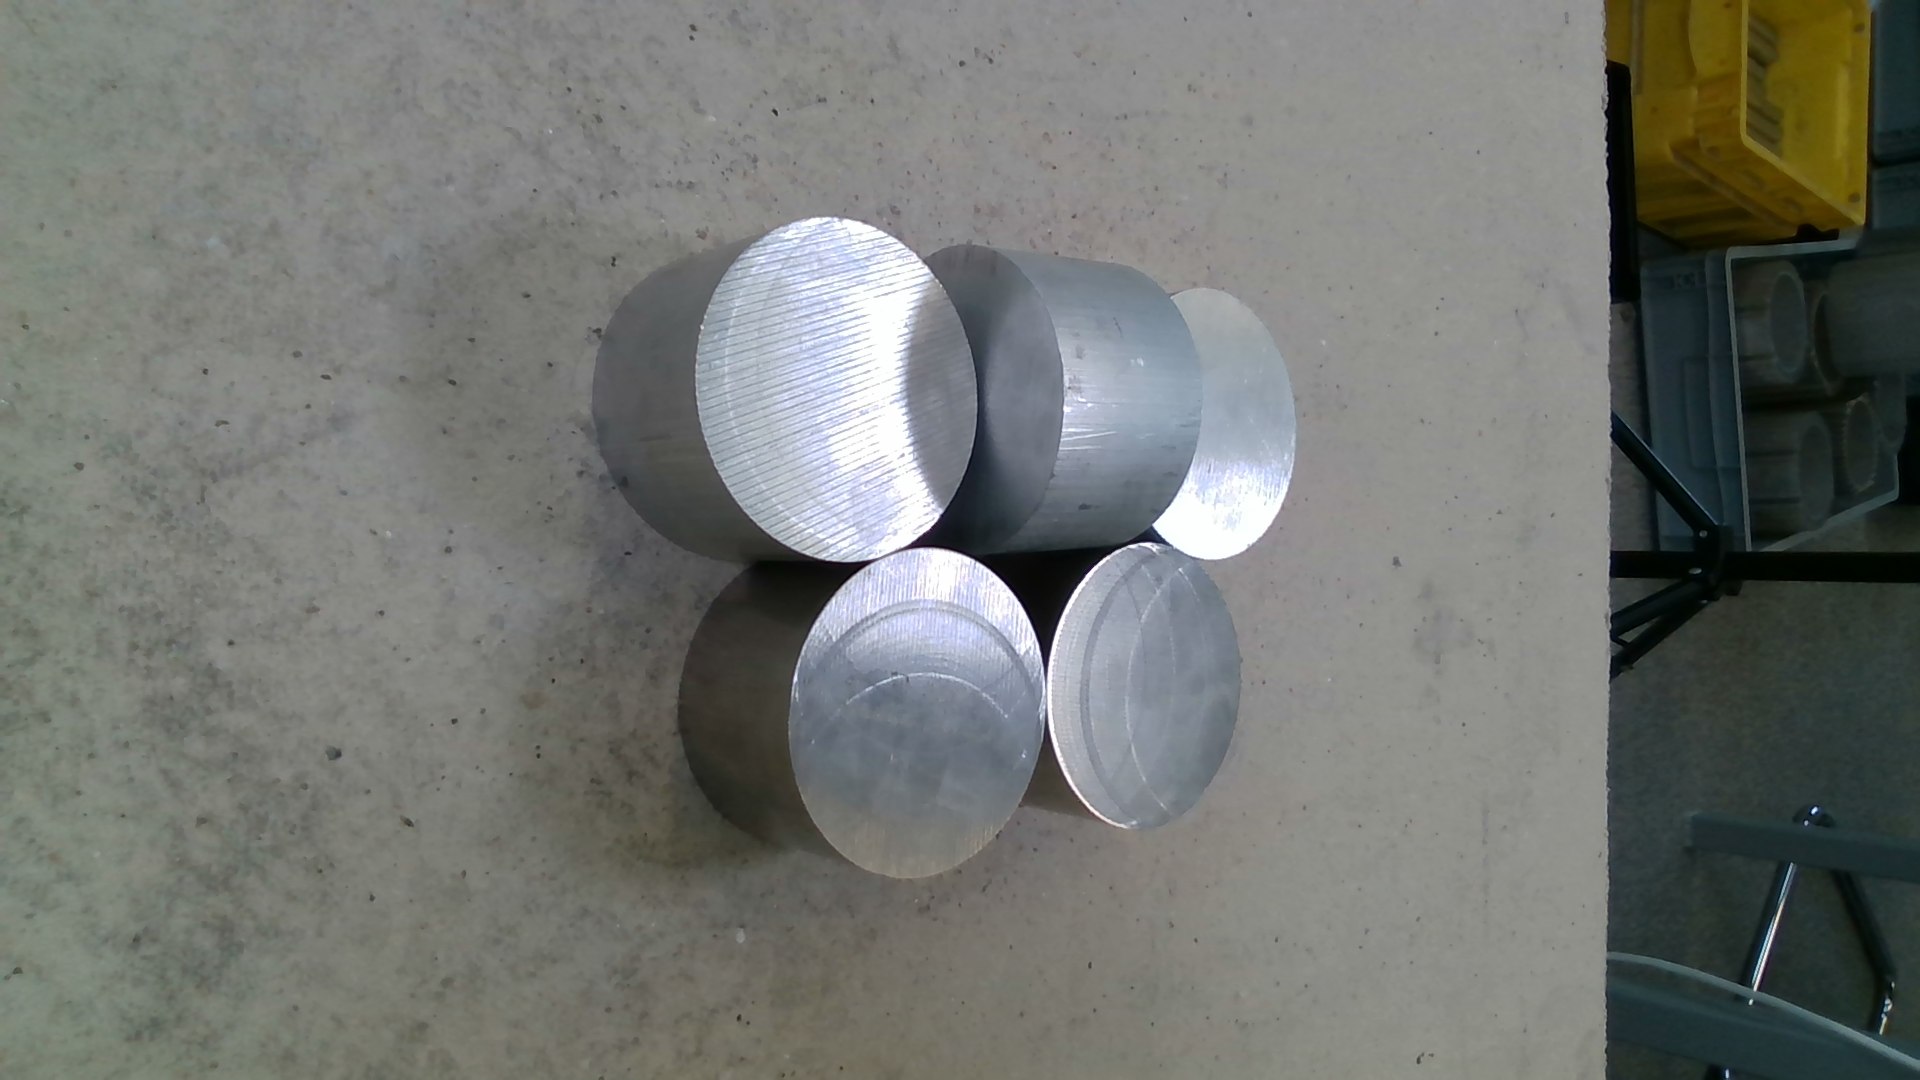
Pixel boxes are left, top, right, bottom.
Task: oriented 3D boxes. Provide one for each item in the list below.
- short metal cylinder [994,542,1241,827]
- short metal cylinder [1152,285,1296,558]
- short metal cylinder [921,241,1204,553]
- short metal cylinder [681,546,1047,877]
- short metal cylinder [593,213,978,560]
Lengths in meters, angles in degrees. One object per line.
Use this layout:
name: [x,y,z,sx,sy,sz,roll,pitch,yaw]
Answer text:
short metal cylinder: [0.038,0.041,0.406,0.080,0.050,0.080,0,90,-40]
short metal cylinder: [0.058,-0.034,0.424,0.080,0.050,0.080,1,89,-40]
short metal cylinder: [0.018,-0.038,0.371,0.050,0.080,0.080,-4,93,-40]
short metal cylinder: [-0.024,0.042,0.354,0.080,0.050,0.080,1,89,-40]
short metal cylinder: [-0.042,-0.035,0.339,0.080,0.050,0.080,1,89,-40]
